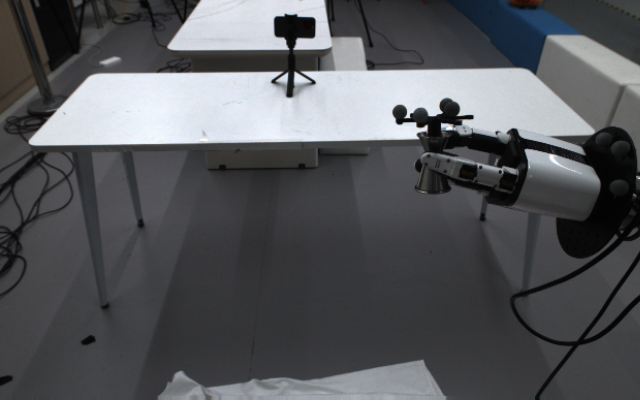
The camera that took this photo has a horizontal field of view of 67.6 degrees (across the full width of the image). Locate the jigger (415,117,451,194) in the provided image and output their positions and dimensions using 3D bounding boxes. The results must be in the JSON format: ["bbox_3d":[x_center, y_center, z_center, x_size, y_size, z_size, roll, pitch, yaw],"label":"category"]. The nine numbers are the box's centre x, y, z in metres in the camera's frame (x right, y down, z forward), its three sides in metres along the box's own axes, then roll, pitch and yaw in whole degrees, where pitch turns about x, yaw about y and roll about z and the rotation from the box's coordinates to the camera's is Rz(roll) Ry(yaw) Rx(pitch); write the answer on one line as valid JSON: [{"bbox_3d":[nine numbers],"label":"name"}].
[{"bbox_3d":[0.136,-0.046,0.581,0.043,0.071,0.043,-2,19,1],"label":"jigger"}]
